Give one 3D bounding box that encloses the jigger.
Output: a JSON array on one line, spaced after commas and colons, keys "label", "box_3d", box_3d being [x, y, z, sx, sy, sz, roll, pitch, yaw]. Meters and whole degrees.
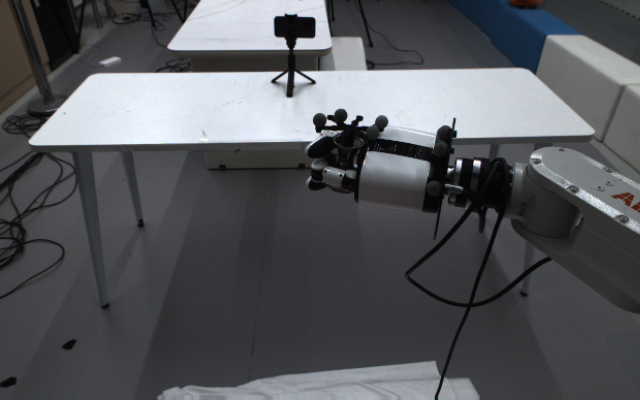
[{"label": "jigger", "box_3d": [0.038, -0.050, 0.653, 0.043, 0.071, 0.043, 4, 31, -2]}]
